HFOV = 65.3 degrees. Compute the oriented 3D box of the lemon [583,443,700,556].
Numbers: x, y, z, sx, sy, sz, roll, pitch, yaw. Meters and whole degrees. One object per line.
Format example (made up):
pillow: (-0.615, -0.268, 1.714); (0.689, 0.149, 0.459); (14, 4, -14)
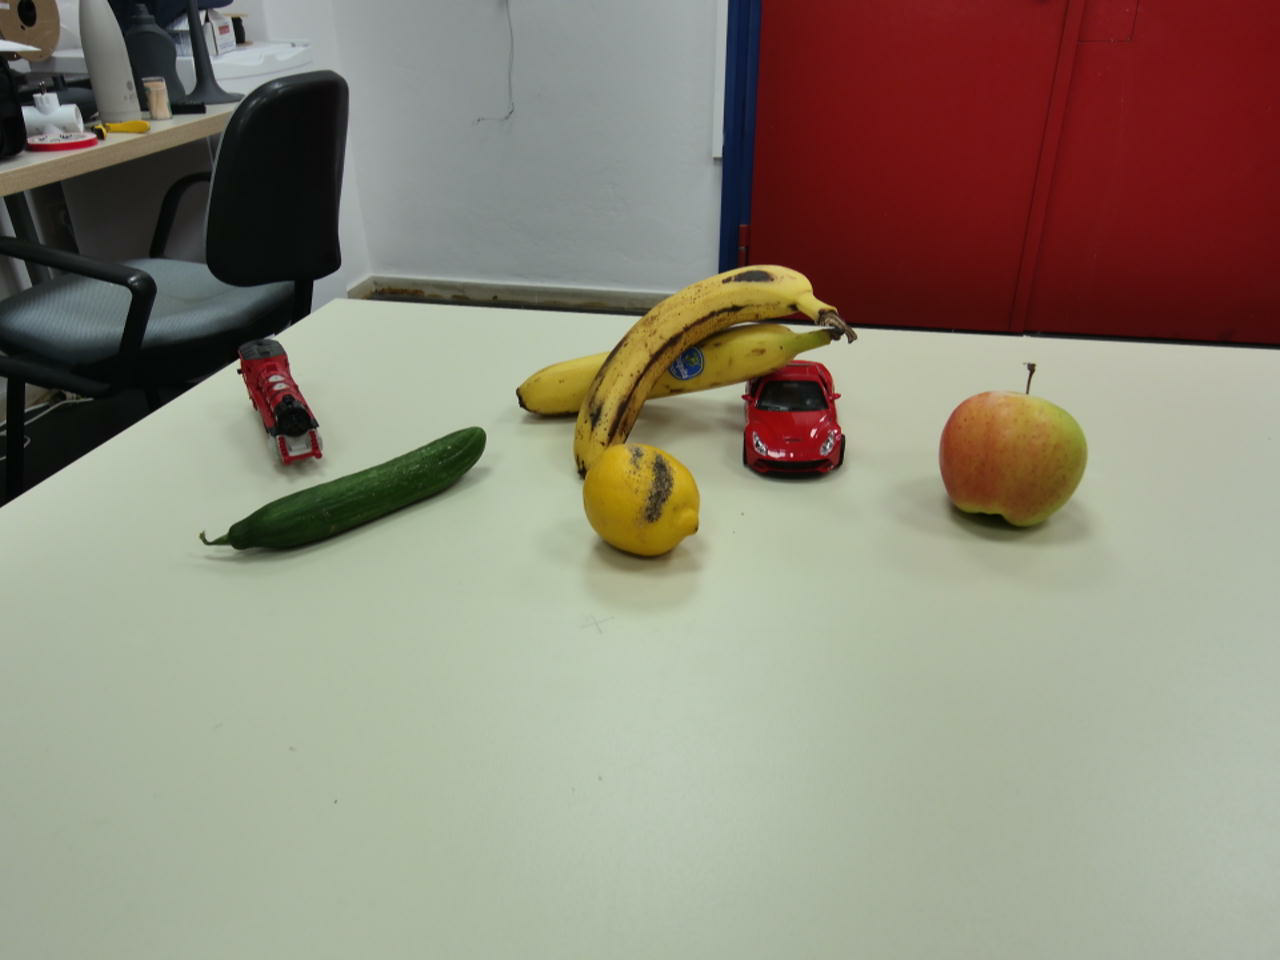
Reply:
lemon: (0.001, 0.010, 0.521); (0.061, 0.056, 0.058); (0, 26, 4)
